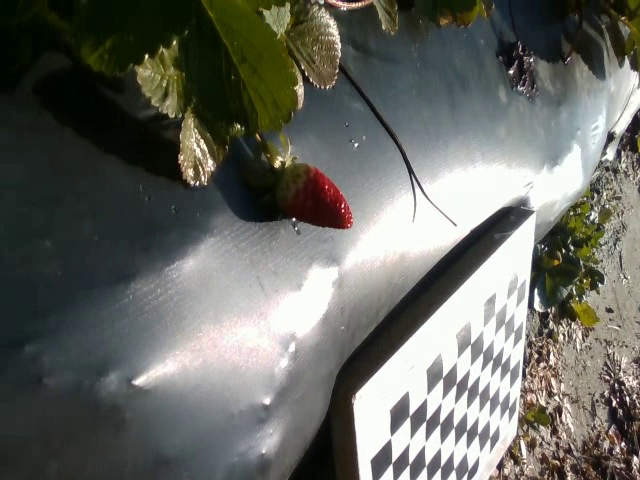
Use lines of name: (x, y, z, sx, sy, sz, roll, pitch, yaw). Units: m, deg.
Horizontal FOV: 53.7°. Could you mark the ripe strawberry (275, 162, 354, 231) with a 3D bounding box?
ripe strawberry: (0.000, -0.016, 0.260, 0.041, 0.028, 0.031, 33, -24, 5)
